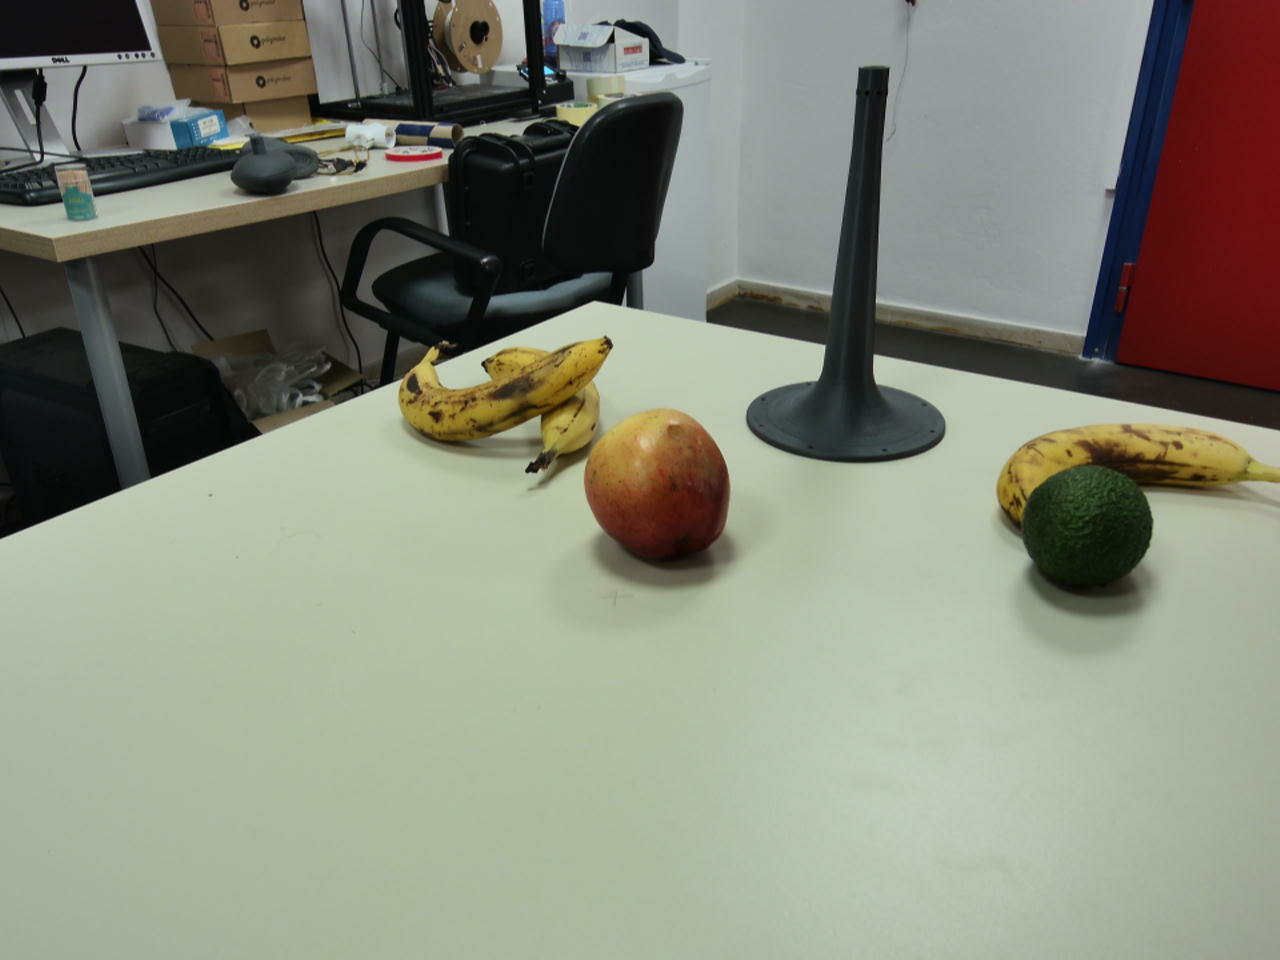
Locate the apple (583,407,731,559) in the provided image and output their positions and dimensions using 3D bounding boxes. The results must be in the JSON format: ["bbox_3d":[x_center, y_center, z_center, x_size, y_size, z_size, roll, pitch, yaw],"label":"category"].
[{"bbox_3d":[0.011,0.000,0.593,0.086,0.084,0.093,1,25,0],"label":"apple"}]
